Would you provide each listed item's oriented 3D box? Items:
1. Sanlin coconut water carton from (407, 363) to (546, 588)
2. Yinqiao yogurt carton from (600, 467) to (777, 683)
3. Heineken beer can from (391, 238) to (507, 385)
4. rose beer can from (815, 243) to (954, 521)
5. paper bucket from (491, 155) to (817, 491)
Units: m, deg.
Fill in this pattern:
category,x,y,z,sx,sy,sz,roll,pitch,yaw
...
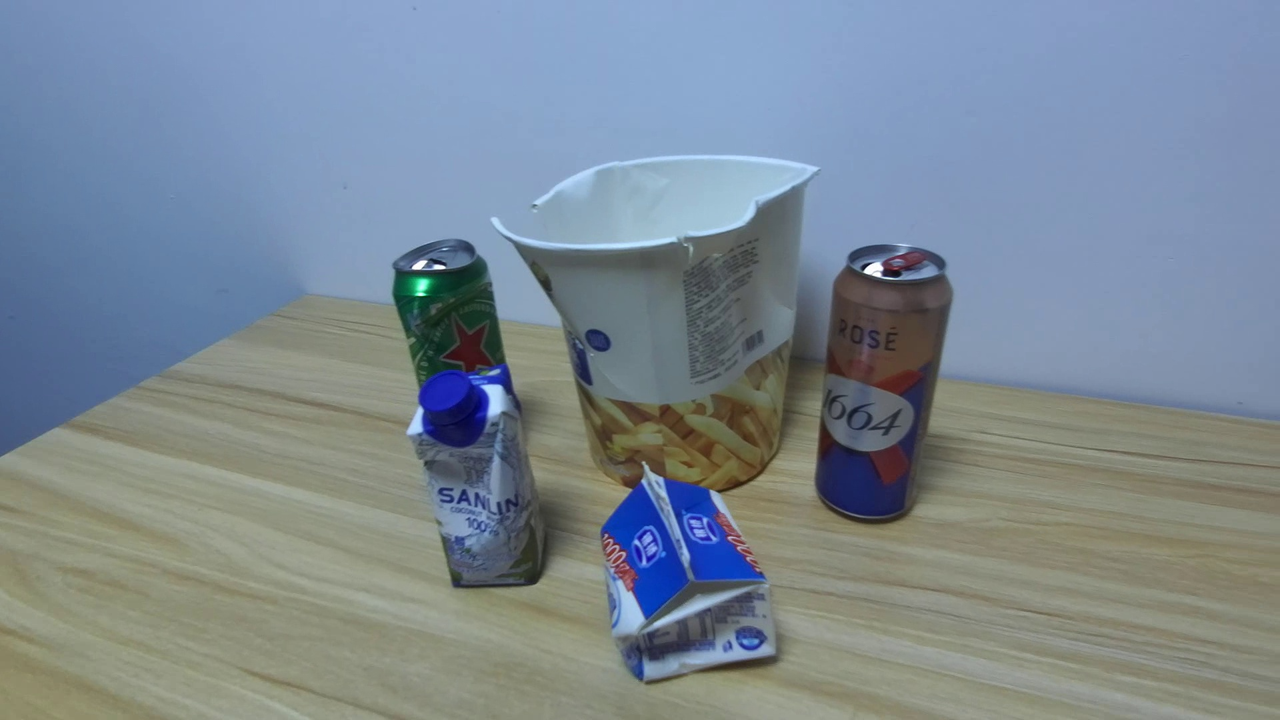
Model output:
category,x,y,z,sx,sy,sz,roll,pitch,yaw
Sanlin coconut water carton,-0.093,0.063,0.410,0.061,0.144,0.070,-3,30,4
Yinqiao yogurt carton,0.018,0.108,0.363,0.080,0.097,0.074,-17,31,-7
Heineken beer can,-0.126,-0.001,0.504,0.078,0.164,0.065,-23,34,-28
rose beer can,0.148,0.018,0.439,0.068,0.169,0.068,-2,28,1
paper bucket,0.025,-0.026,0.494,0.145,0.197,0.203,13,33,29
